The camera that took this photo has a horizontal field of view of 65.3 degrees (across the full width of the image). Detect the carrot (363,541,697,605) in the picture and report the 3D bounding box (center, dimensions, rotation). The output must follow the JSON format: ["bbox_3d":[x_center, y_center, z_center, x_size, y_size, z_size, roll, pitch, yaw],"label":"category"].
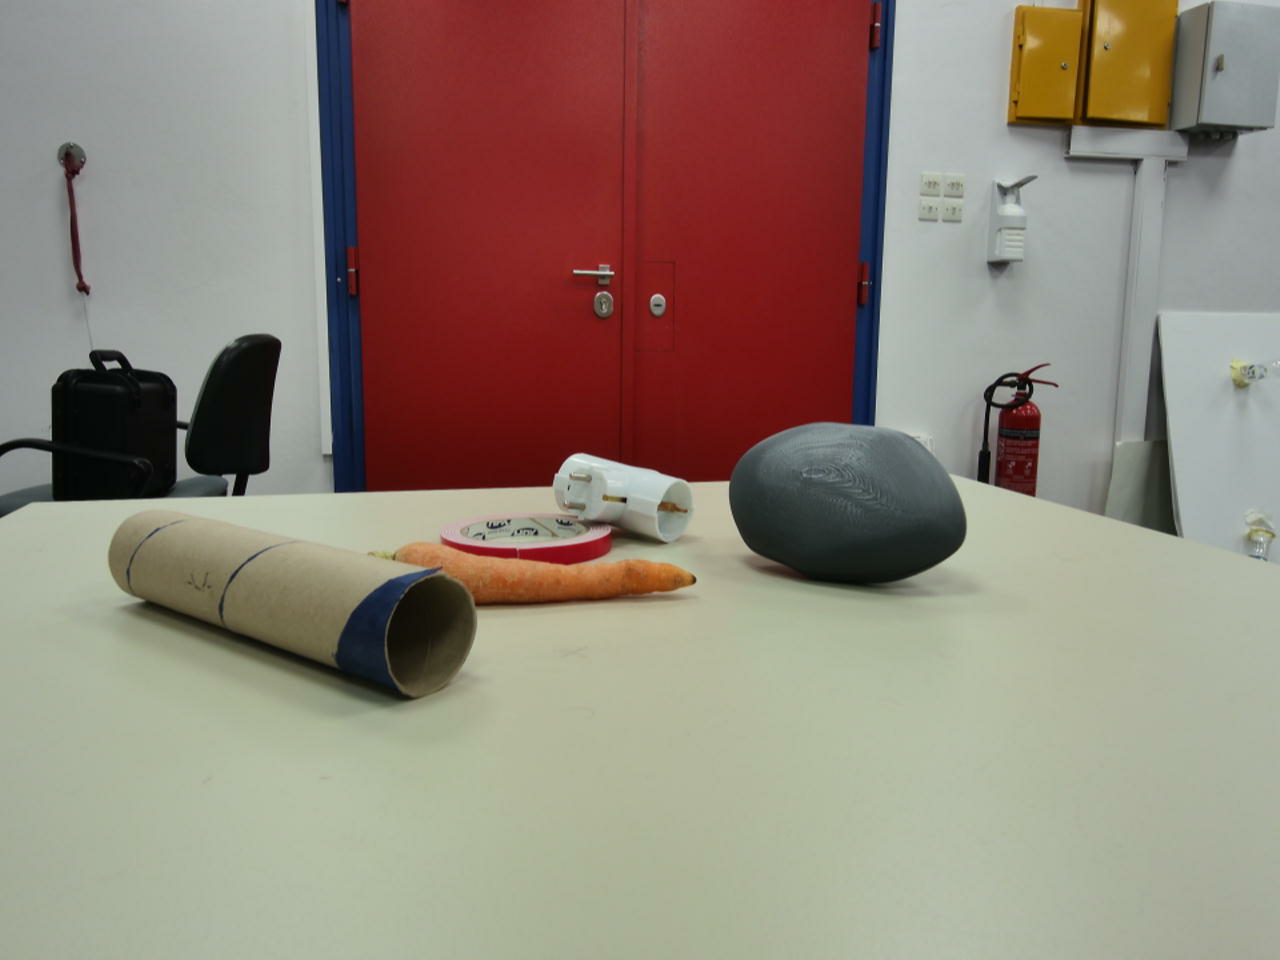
[{"bbox_3d":[-0.055,0.047,0.517,0.173,0.032,0.030,0,6,-4],"label":"carrot"}]
